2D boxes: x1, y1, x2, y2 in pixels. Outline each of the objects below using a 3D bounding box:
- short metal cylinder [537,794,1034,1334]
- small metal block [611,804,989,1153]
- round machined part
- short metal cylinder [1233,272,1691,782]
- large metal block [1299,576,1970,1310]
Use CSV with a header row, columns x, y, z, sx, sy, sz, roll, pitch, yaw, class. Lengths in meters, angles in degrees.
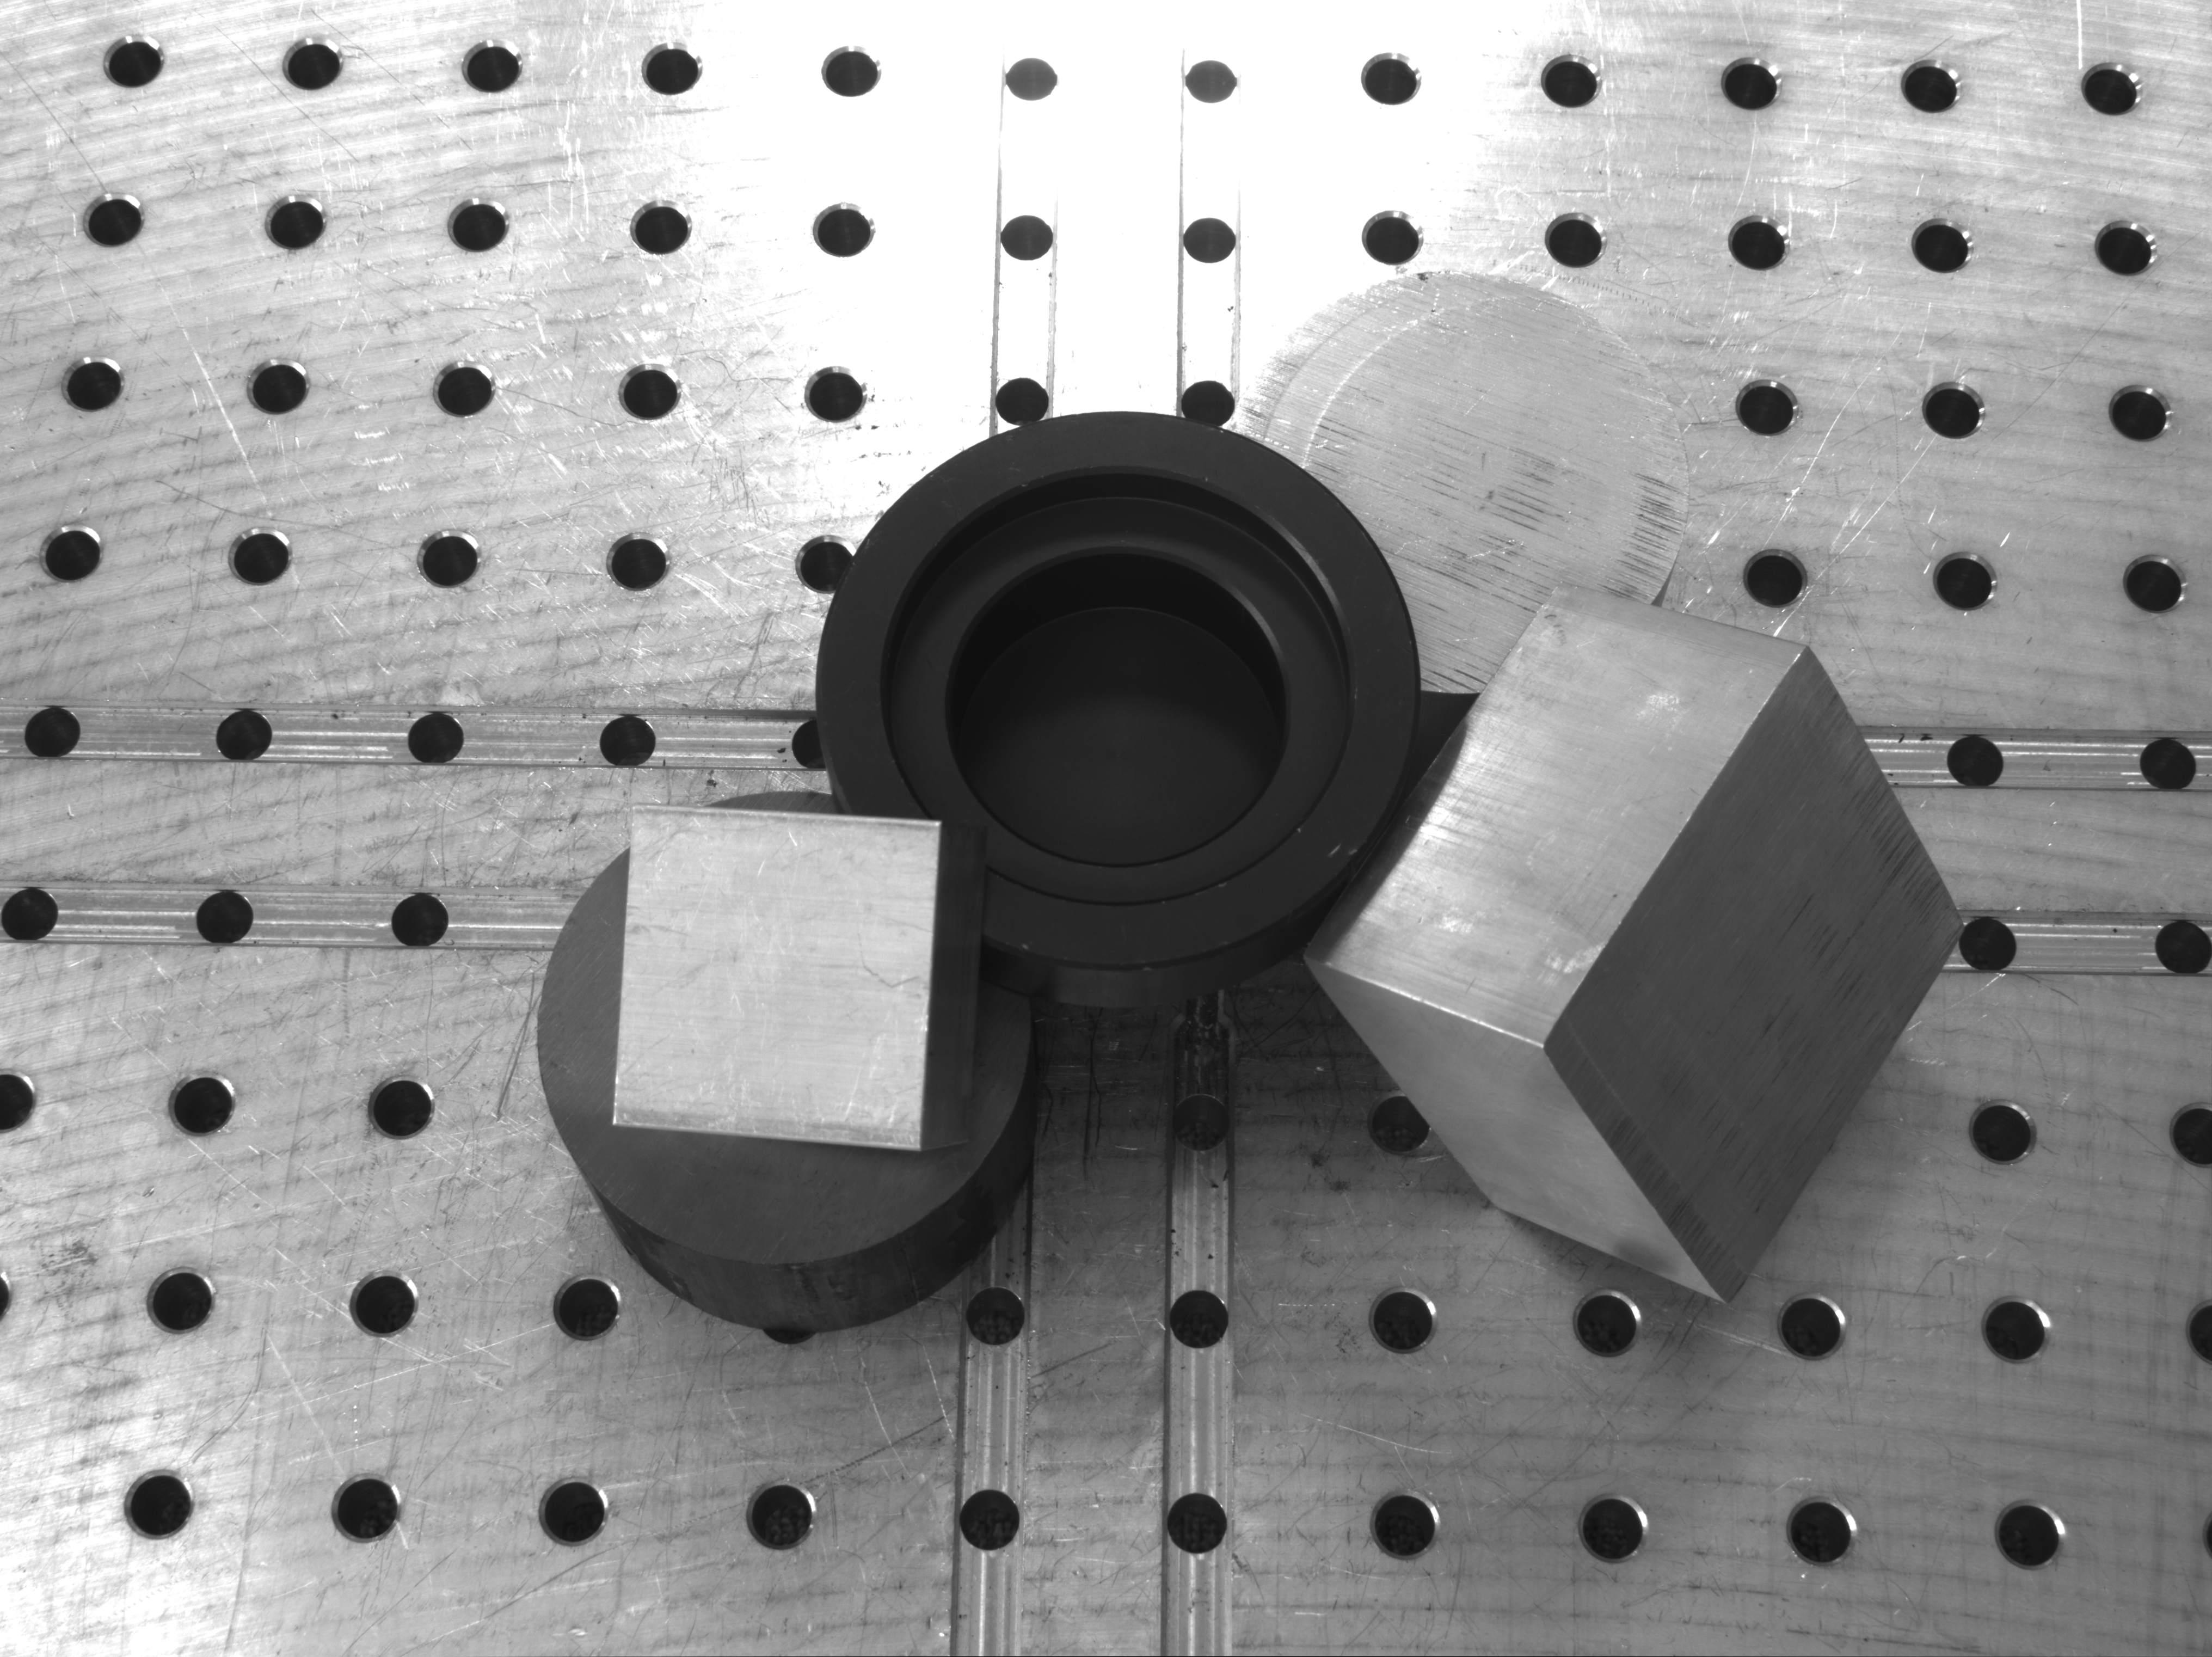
x,y,z,sx,sy,sz,roll,pitch,yaw,class
-0.052,0.040,0.620,0.080,0.050,0.080,0,70,0,short metal cylinder
-0.047,0.023,0.573,0.050,0.025,0.050,3,89,14,small metal block
0.002,-0.017,0.614,0.098,0.042,0.098,0,70,0,round machined part
0.060,-0.051,0.653,0.080,0.050,0.080,0,70,0,short metal cylinder
0.089,0.019,0.605,0.050,0.080,0.080,19,67,44,large metal block
